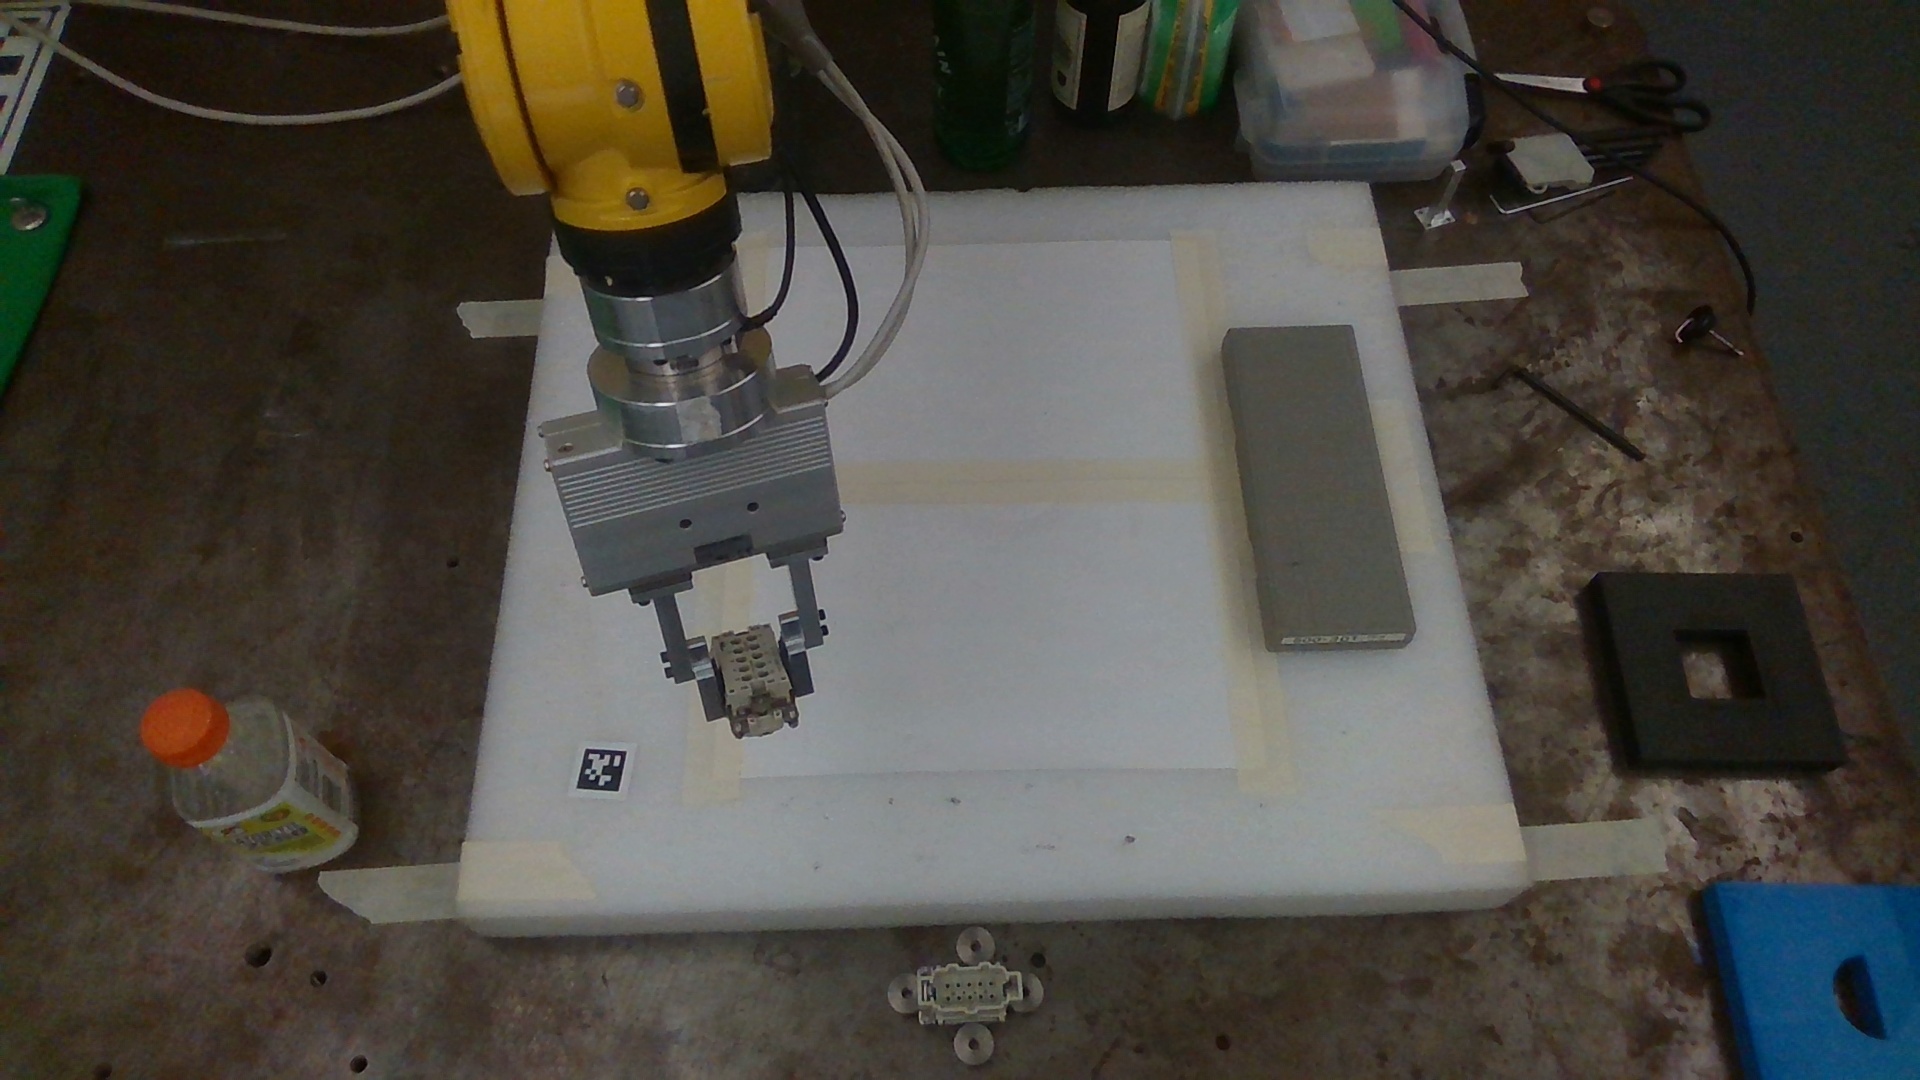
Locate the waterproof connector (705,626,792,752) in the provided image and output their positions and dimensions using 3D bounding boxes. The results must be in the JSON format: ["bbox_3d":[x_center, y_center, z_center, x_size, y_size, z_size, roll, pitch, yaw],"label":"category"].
[{"bbox_3d":[-0.110,0.076,0.718,0.036,0.038,0.069,-13,41,-9],"label":"waterproof connector"}]
